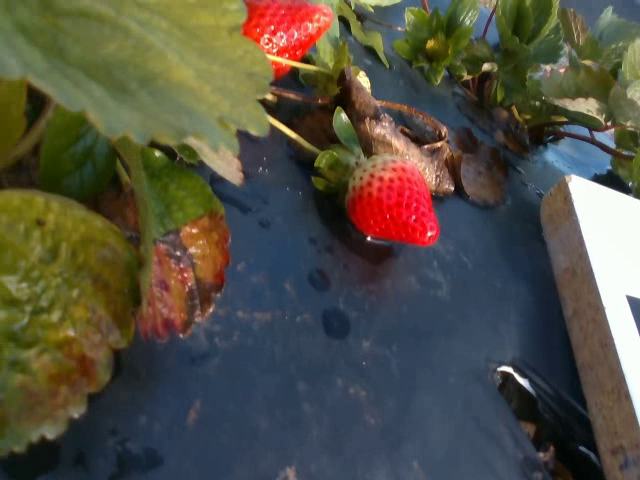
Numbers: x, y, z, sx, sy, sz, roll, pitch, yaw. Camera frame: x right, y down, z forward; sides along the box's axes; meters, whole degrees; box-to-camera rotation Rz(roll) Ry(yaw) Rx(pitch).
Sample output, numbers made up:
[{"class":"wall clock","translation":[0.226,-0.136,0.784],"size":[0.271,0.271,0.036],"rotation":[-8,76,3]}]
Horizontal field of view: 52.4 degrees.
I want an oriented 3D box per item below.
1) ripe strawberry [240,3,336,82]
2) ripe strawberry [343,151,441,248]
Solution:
[{"class":"ripe strawberry","translation":[-0.018,-0.087,0.251],"size":[0.048,0.040,0.032],"rotation":[-18,-33,8]},{"class":"ripe strawberry","translation":[0.027,-0.013,0.223],"size":[0.035,0.043,0.030],"rotation":[-18,-28,-39]}]
